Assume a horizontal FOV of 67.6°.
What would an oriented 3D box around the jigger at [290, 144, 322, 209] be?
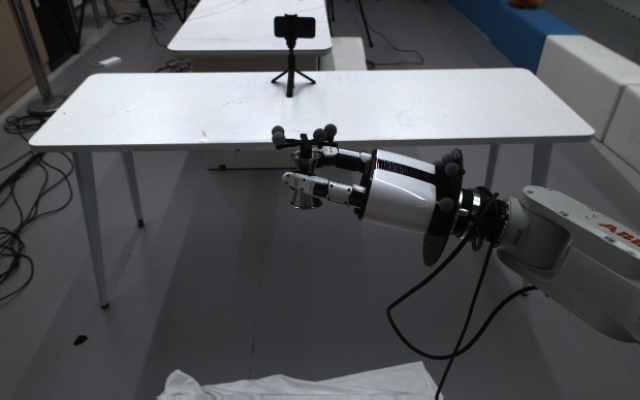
[{"bbox_3d":[-0.019,-0.026,0.643,0.043,0.071,0.043,0,21,0],"label":"jigger"}]
